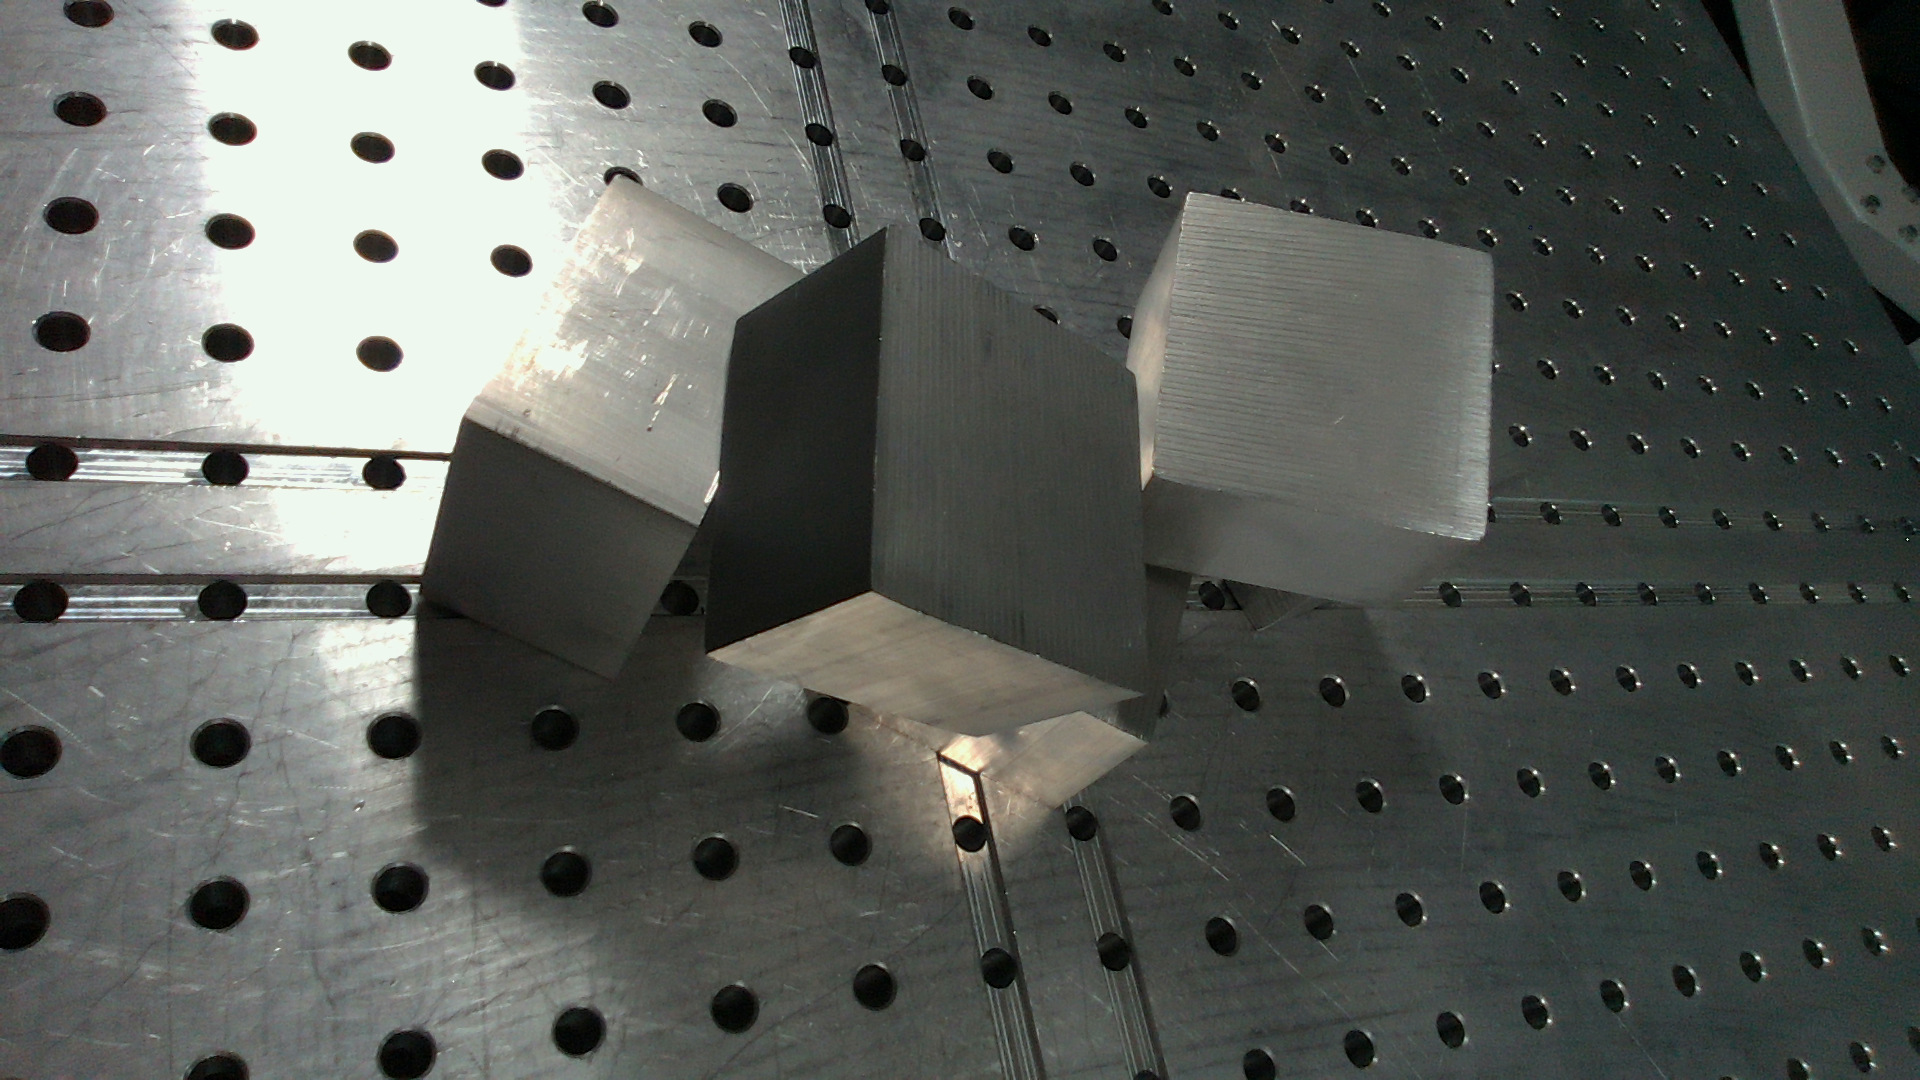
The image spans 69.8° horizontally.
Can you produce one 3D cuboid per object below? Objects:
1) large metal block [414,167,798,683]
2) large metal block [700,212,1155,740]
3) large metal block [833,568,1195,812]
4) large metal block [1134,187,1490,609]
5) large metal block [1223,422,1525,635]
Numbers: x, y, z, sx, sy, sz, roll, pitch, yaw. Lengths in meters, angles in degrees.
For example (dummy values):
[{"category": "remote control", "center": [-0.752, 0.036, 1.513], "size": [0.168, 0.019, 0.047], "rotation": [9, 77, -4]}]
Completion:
[{"category": "large metal block", "center": [-0.083, -0.025, 0.328], "size": [0.050, 0.080, 0.080], "rotation": [26, 52, -11]}, {"category": "large metal block", "center": [-0.004, -0.009, 0.295], "size": [0.080, 0.050, 0.080], "rotation": [23, 57, -40]}, {"category": "large metal block", "center": [0.014, 0.014, 0.375], "size": [0.080, 0.050, 0.080], "rotation": [28, 52, -10]}, {"category": "large metal block", "center": [0.086, -0.035, 0.355], "size": [0.080, 0.050, 0.080], "rotation": [11, 68, -4]}, {"category": "large metal block", "center": [0.113, -0.029, 0.435], "size": [0.050, 0.080, 0.080], "rotation": [-17, 71, -35]}]
